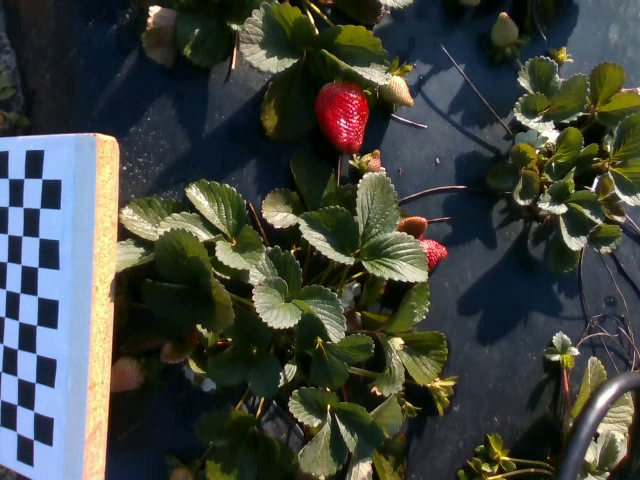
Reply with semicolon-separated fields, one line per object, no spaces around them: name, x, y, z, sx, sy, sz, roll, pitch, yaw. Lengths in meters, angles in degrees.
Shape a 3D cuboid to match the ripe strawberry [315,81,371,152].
ripe strawberry;0.021;-0.102;0.600;0.056;0.072;0.055;-24;-24;29
